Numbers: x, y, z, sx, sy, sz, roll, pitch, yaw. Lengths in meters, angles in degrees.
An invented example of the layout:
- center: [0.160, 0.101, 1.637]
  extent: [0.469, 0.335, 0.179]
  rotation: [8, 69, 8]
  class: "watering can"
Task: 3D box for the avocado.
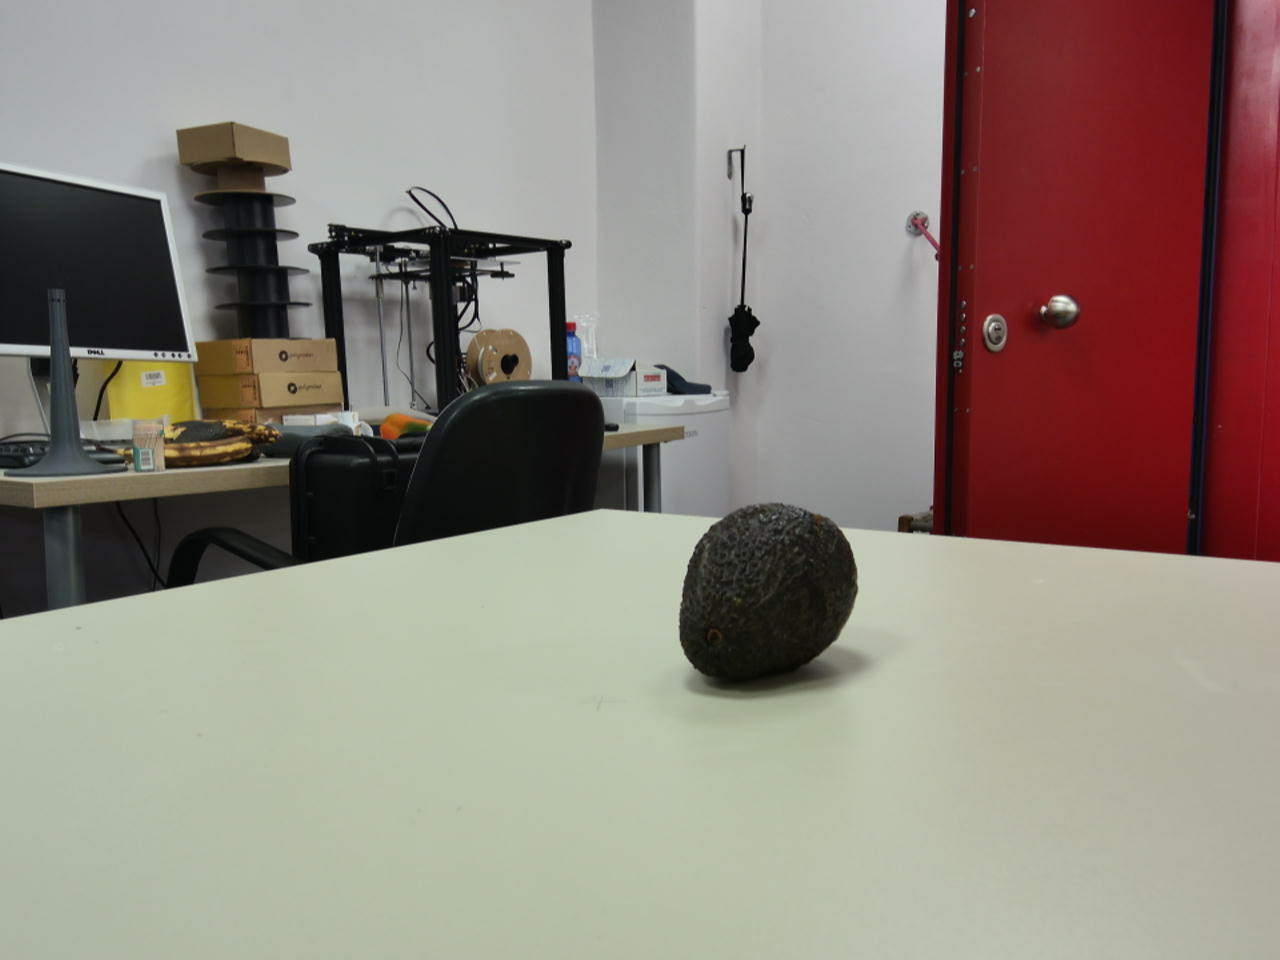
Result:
- center: [0.051, 0.045, 0.424]
  extent: [0.090, 0.069, 0.070]
  rotation: [-2, 3, -27]
  class: "avocado"
